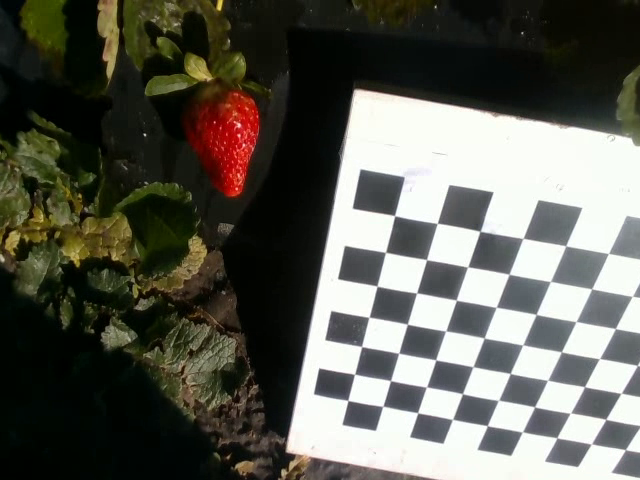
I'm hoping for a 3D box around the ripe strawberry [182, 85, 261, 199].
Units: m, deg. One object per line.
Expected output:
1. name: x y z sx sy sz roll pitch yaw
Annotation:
1. ripe strawberry: -0.051 -0.052 0.328 0.048 0.069 0.040 -5 23 10
